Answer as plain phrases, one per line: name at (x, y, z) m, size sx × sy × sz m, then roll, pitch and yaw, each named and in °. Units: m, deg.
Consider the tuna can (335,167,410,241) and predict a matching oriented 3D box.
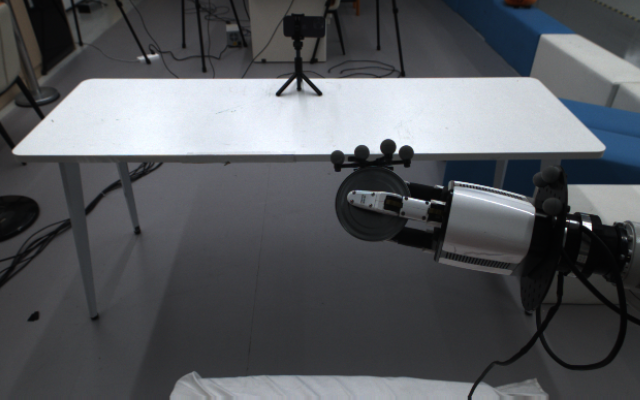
tuna can at (0.064, 0.003, 0.555) m, size 0.085 × 0.085 × 0.034 m, roll 11°, pitch -8°, yaw 12°
